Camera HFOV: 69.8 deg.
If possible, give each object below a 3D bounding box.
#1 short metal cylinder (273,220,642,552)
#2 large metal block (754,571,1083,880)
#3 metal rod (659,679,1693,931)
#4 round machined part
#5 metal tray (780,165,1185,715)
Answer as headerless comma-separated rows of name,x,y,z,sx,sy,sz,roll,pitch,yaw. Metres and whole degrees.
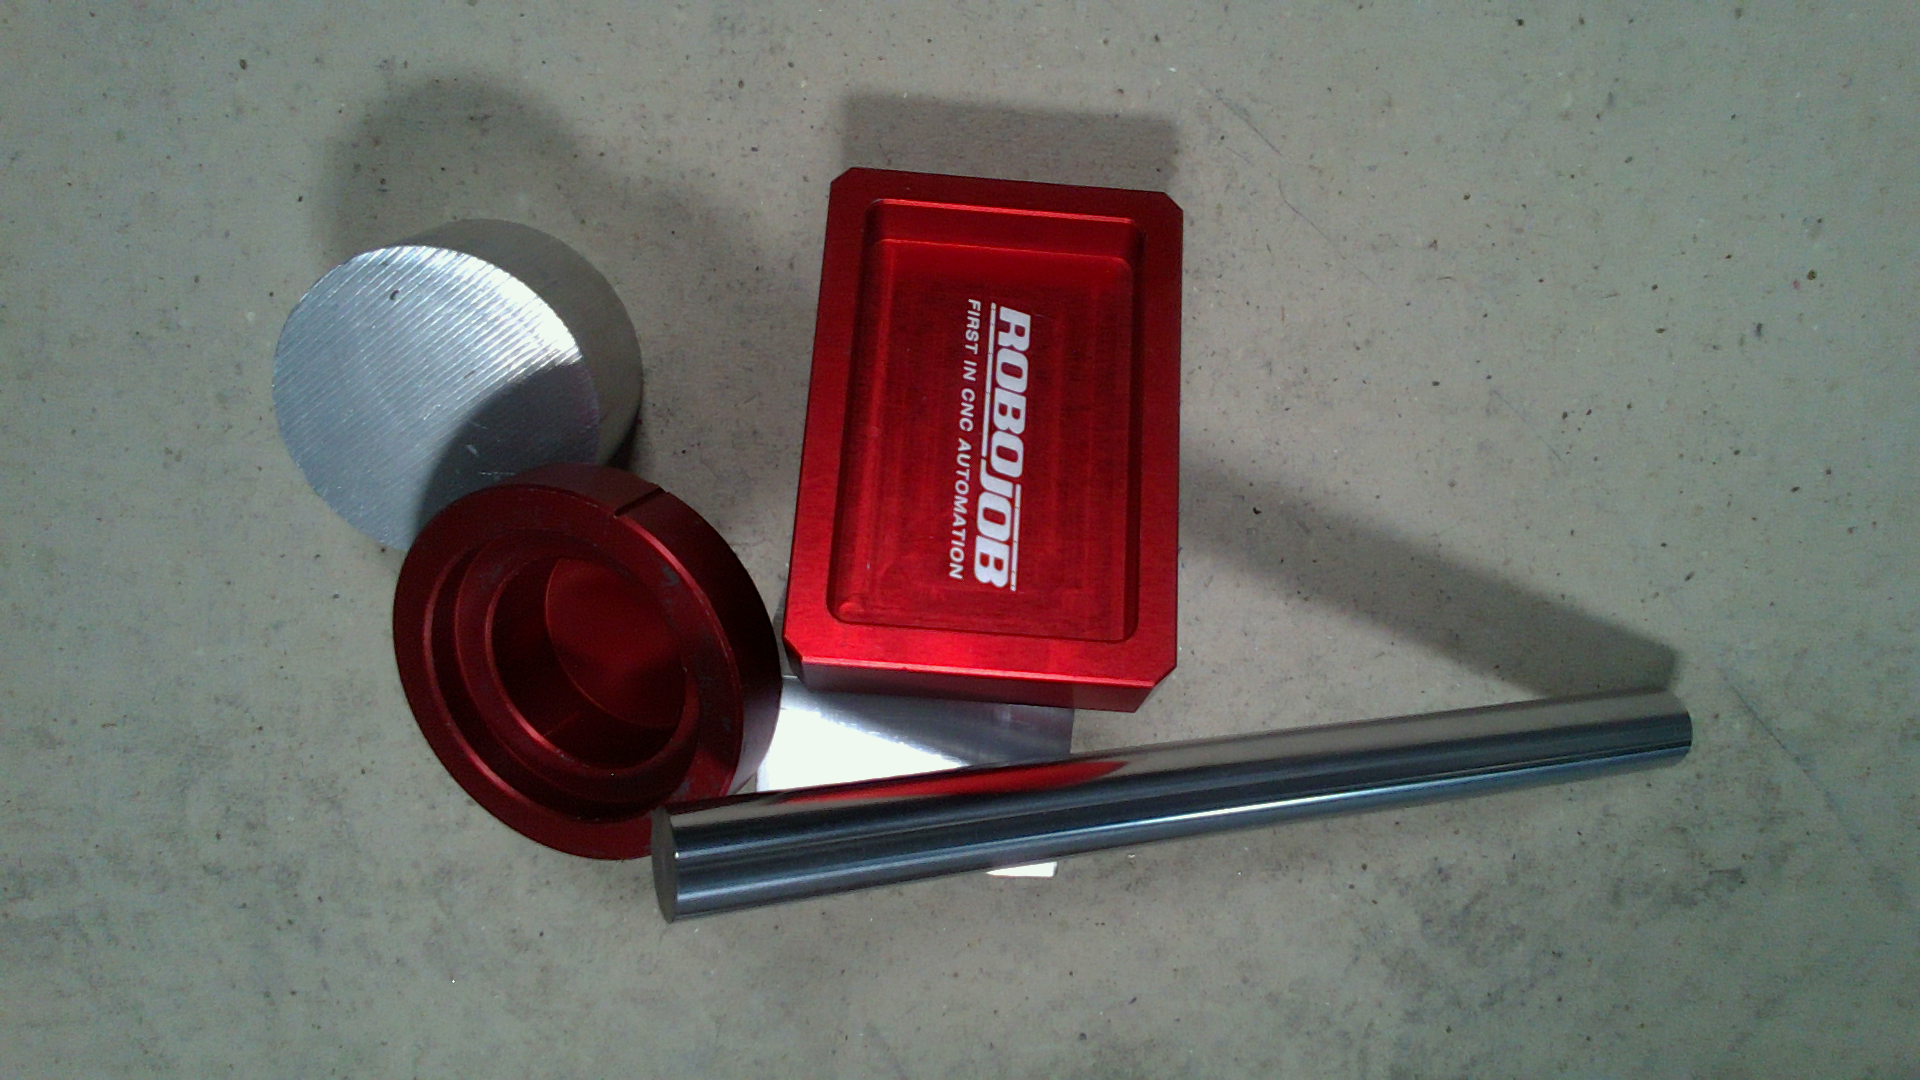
short metal cylinder,-0.130,-0.041,0.365,0.080,0.050,0.080,0,110,0
large metal block,-0.011,0.047,0.382,0.080,0.080,0.050,4,110,-2
metal rod,0.075,0.063,0.355,0.301,0.025,0.025,-3,112,-25
round machined part,-0.089,0.027,0.348,0.098,0.042,0.098,7,110,19
metal tray,0.008,-0.026,0.341,0.090,0.030,0.130,4,71,-2
